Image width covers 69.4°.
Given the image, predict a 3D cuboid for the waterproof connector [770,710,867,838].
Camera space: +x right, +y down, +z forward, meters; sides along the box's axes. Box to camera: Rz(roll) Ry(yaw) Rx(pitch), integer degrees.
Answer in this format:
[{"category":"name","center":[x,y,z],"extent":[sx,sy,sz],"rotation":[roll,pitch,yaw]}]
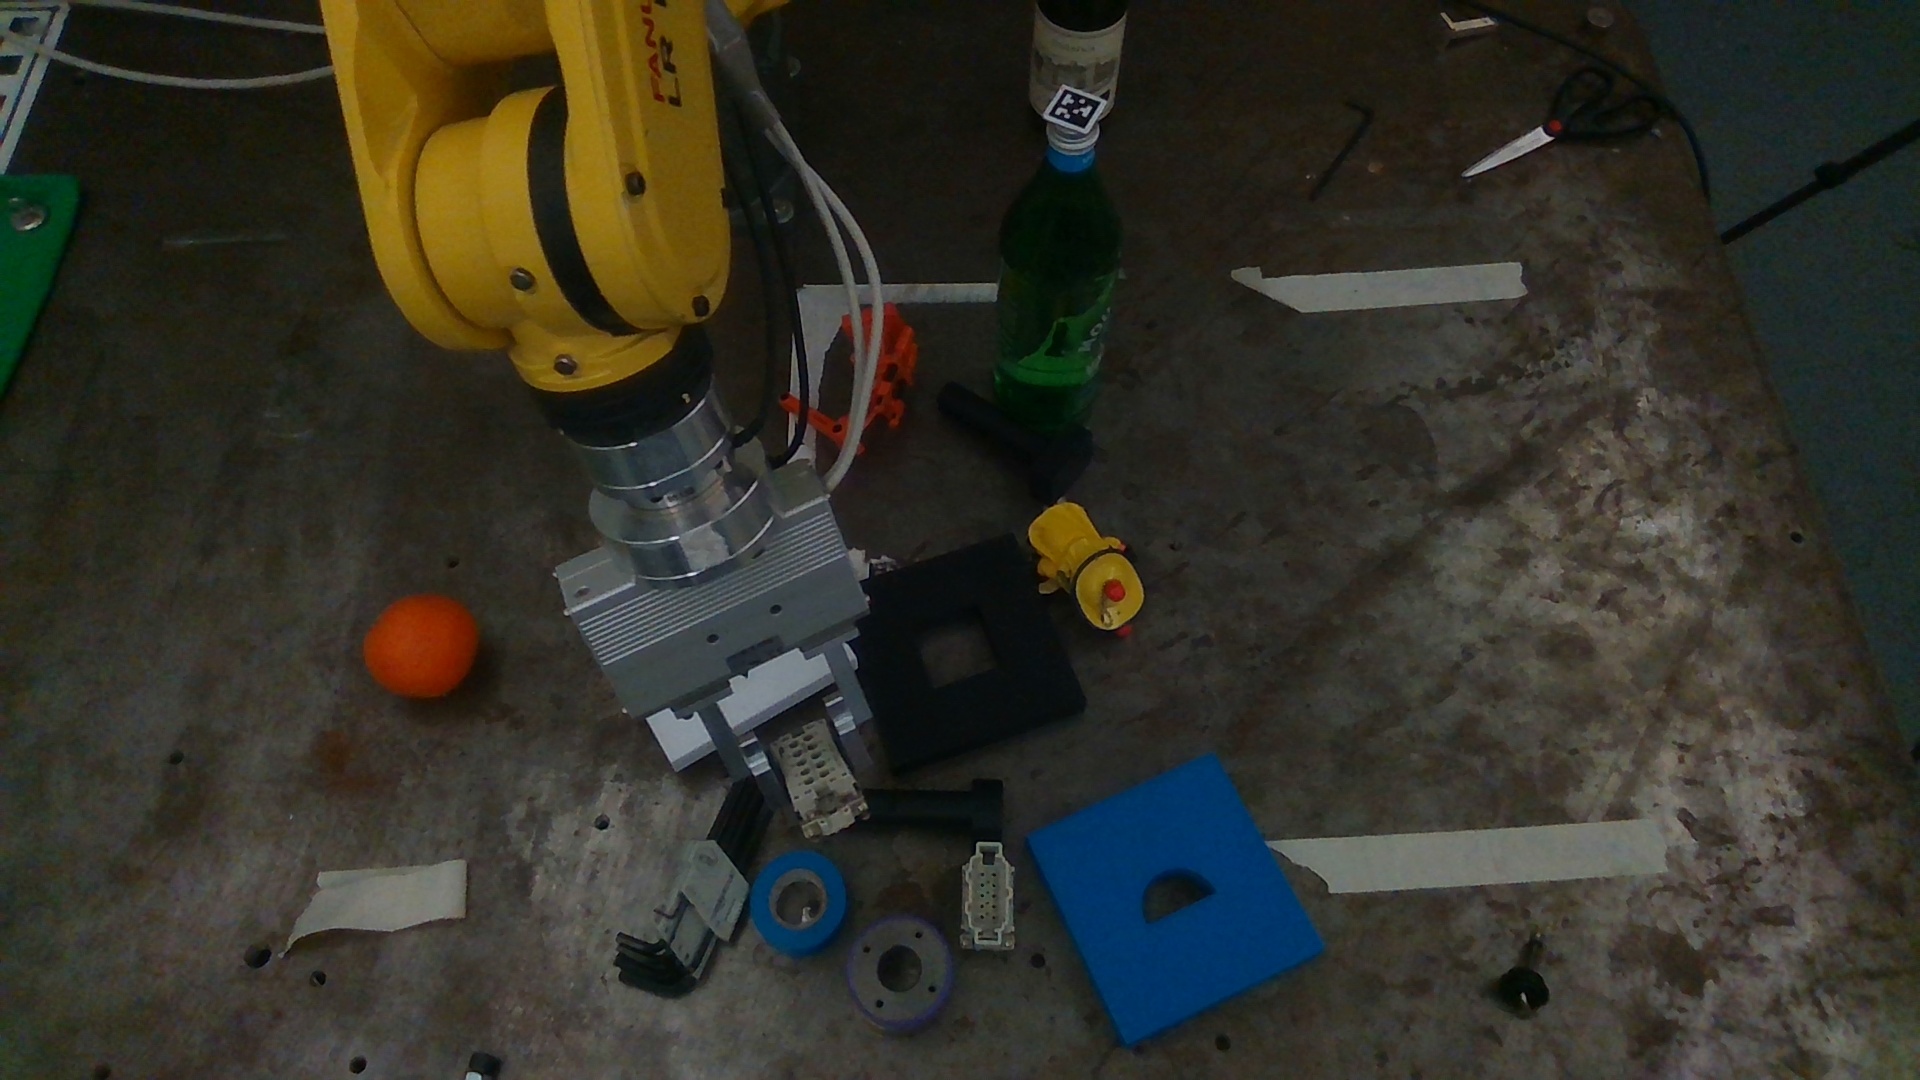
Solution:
[{"category":"waterproof connector","center":[-0.075,0.123,0.739],"extent":[0.037,0.038,0.069],"rotation":[-25,42,-5]}]
